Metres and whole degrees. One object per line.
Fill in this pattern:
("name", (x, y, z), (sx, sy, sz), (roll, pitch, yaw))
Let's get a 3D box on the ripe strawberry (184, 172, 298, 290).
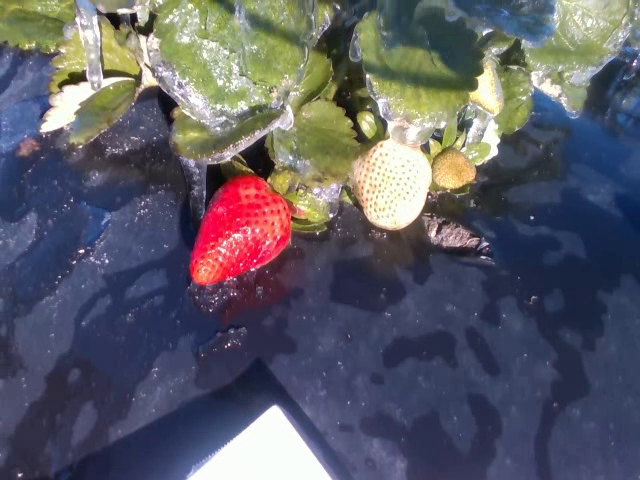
("ripe strawberry", (-0.037, -0.006, 0.233), (0.042, 0.052, 0.040), (30, -22, 21))
